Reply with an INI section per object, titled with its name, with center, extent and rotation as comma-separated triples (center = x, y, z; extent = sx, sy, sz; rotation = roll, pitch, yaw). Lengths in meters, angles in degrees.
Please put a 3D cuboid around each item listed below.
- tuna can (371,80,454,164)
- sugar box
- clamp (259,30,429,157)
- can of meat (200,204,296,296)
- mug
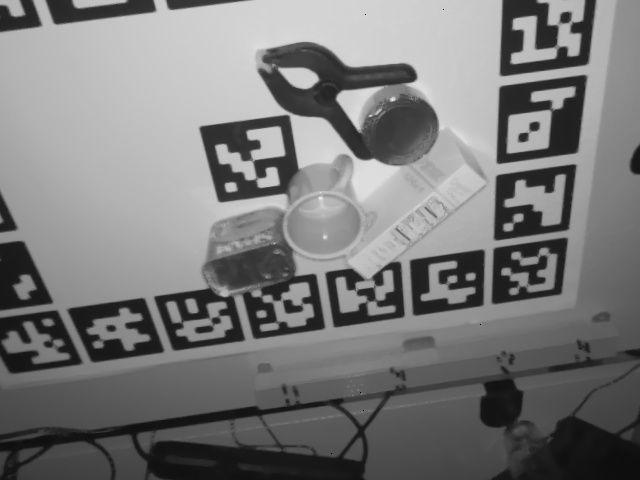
[tuna can]
center = 0.098, -0.128, 0.745
extent = 0.086, 0.034, 0.085
rotation = -3, 122, -4
[sugar box]
center = 0.107, -0.043, 0.774
extent = 0.174, 0.093, 0.045
rotation = -40, 119, 21
[clamp]
center = 0.015, -0.166, 0.718
extent = 0.166, 0.037, 0.120
rotation = 24, 122, -15
[can of meat]
center = -0.080, 0.009, 0.795
extent = 0.101, 0.084, 0.057
rotation = -14, 125, 6
[mug]
center = 0.014, -0.042, 0.762
extent = 0.094, 0.082, 0.116
rotation = 14, 119, -13
